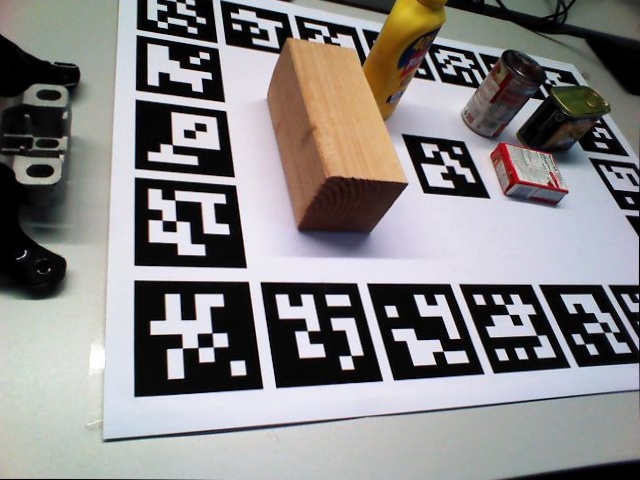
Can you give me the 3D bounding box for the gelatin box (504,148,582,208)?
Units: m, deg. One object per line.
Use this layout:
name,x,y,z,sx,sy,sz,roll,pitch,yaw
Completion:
gelatin box,0.301,-0.086,0.699,0.089,0.030,0.073,9,55,-14

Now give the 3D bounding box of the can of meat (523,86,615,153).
can of meat,0.362,-0.174,0.759,0.101,0.084,0.057,-11,62,-31

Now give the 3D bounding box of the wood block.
wood block,0.018,-0.113,0.566,0.091,0.090,0.205,3,51,-23

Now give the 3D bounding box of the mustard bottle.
mustard bottle,0.105,-0.223,0.621,0.095,0.193,0.058,-24,68,-36

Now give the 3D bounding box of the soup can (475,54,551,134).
soup can,0.273,-0.206,0.720,0.068,0.103,0.067,11,55,-16
